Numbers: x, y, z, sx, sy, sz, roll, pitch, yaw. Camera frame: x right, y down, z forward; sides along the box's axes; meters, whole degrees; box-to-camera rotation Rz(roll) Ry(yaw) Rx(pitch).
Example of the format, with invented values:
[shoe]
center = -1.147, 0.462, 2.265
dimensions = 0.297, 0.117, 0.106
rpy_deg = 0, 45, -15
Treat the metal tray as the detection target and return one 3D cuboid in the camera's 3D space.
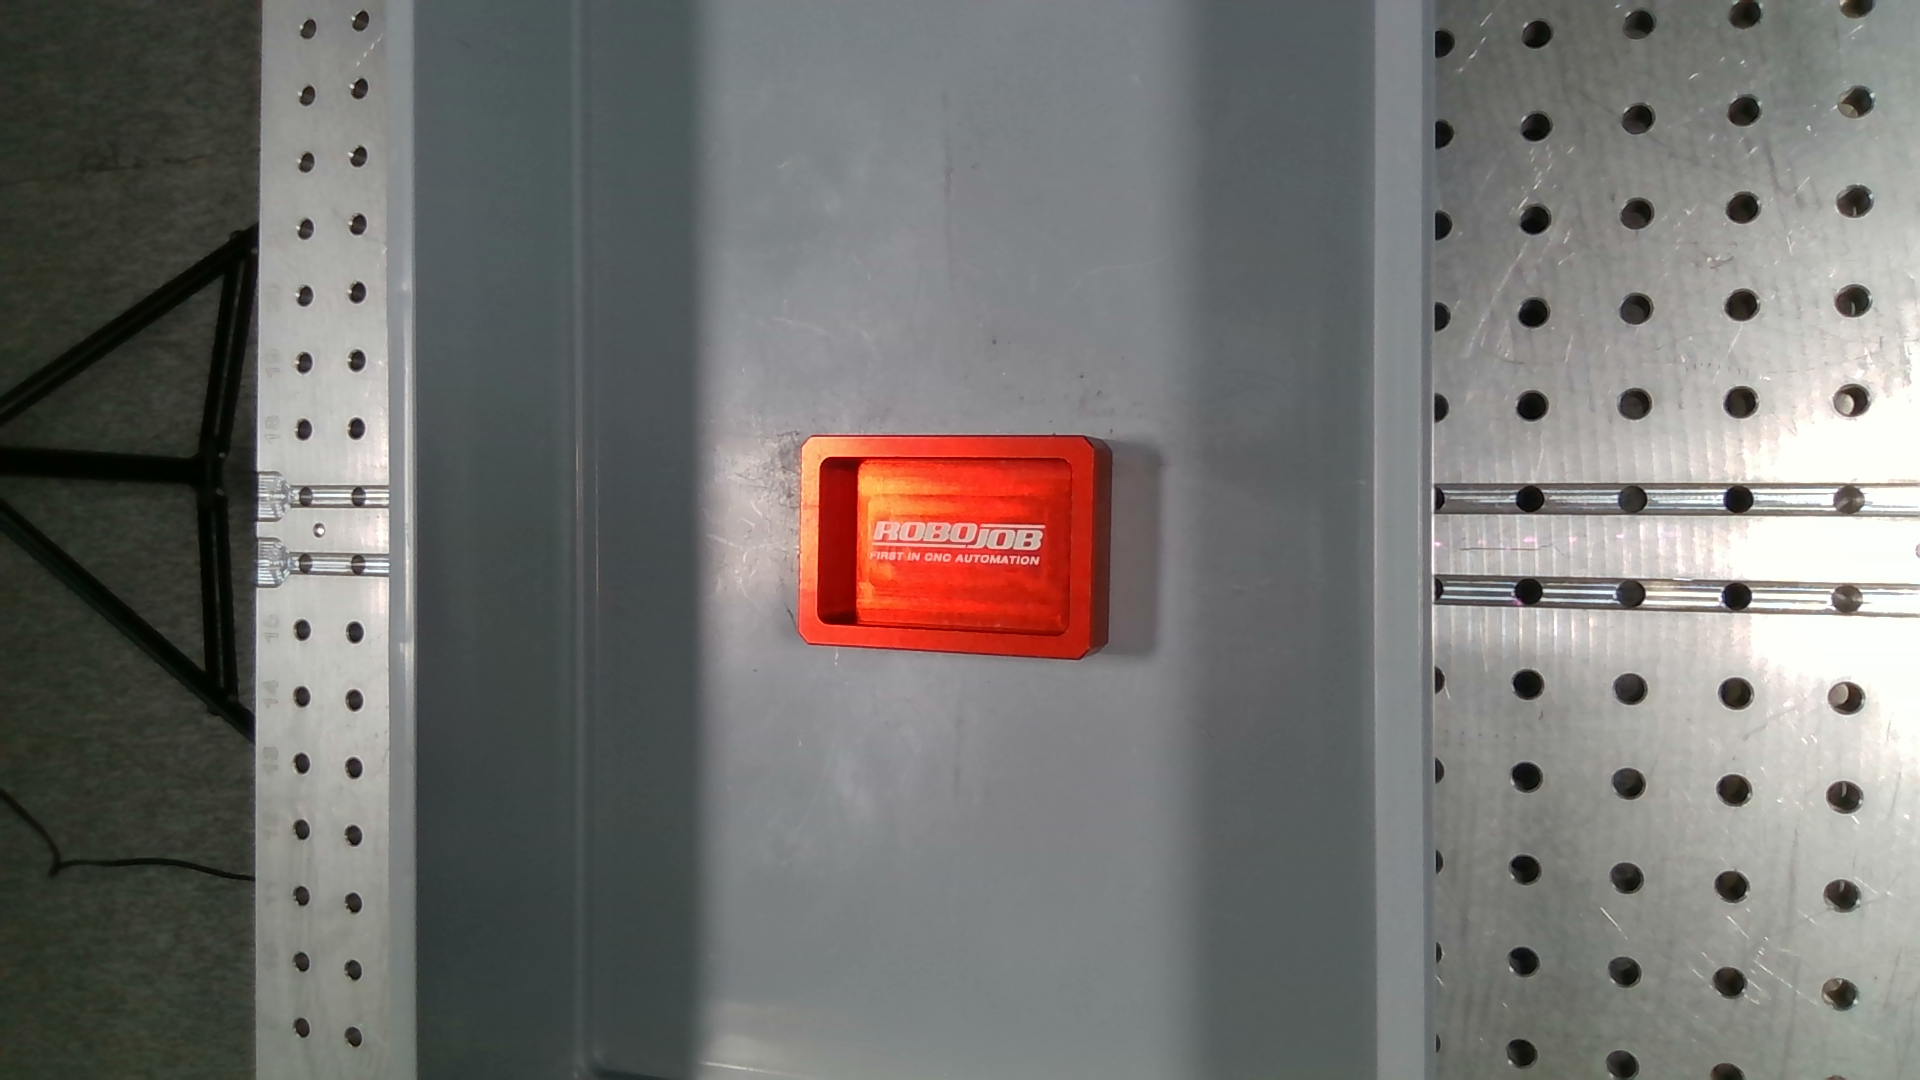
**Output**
[metal tray]
center = -0.004, 0.001, 0.581
dimensions = 0.130, 0.030, 0.090
rpy_deg = 2, 92, 20
